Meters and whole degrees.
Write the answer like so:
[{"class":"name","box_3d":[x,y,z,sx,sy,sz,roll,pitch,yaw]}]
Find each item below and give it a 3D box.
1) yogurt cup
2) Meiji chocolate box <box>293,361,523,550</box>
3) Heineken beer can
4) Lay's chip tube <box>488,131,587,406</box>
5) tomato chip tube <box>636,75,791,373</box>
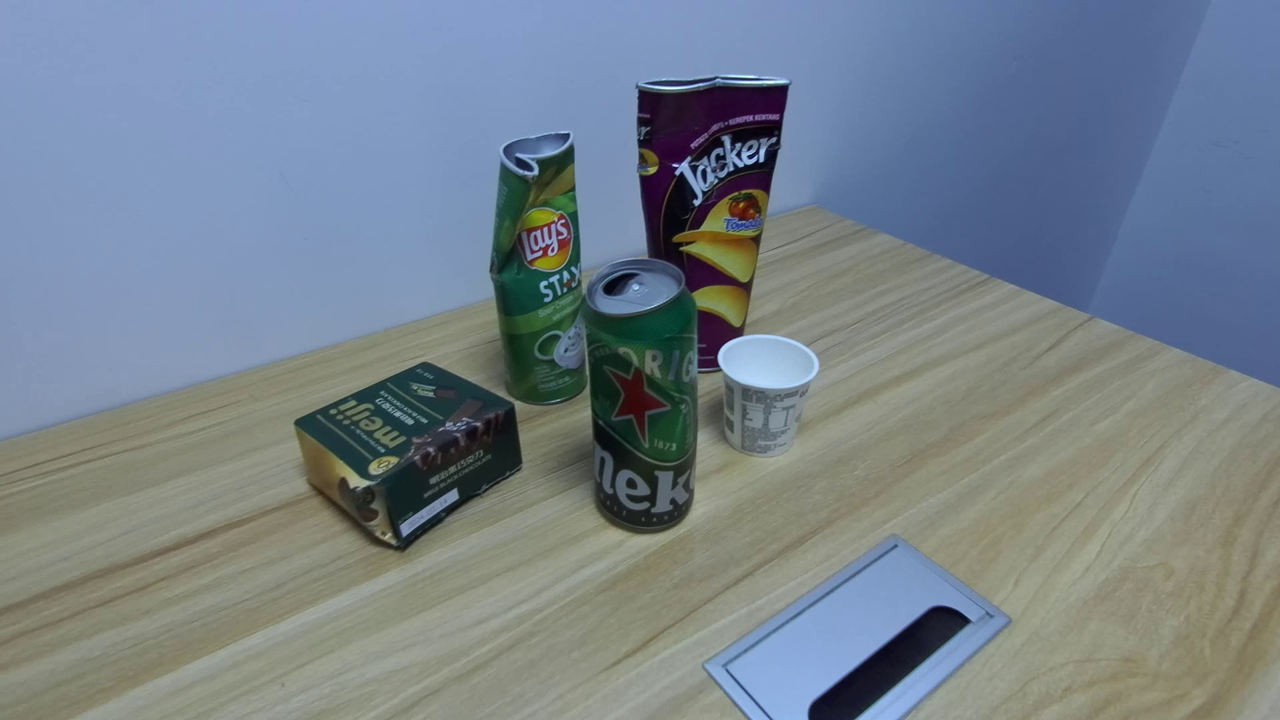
[{"class":"yogurt cup","box_3d":[0.090,0.028,0.517,0.072,0.068,0.072,0,33,0]},{"class":"Meiji chocolate box","box_3d":[-0.159,0.059,0.490,0.115,0.058,0.123,22,38,34]},{"class":"Heineken beer can","box_3d":[0.001,0.027,0.432,0.069,0.168,0.068,0,34,5]},{"class":"Lay's chip tube","box_3d":[-0.076,-0.065,0.541,0.069,0.201,0.077,-4,35,-6]},{"class":"tomato chip tube","box_3d":[0.052,-0.104,0.572,0.090,0.236,0.078,21,37,27]}]
